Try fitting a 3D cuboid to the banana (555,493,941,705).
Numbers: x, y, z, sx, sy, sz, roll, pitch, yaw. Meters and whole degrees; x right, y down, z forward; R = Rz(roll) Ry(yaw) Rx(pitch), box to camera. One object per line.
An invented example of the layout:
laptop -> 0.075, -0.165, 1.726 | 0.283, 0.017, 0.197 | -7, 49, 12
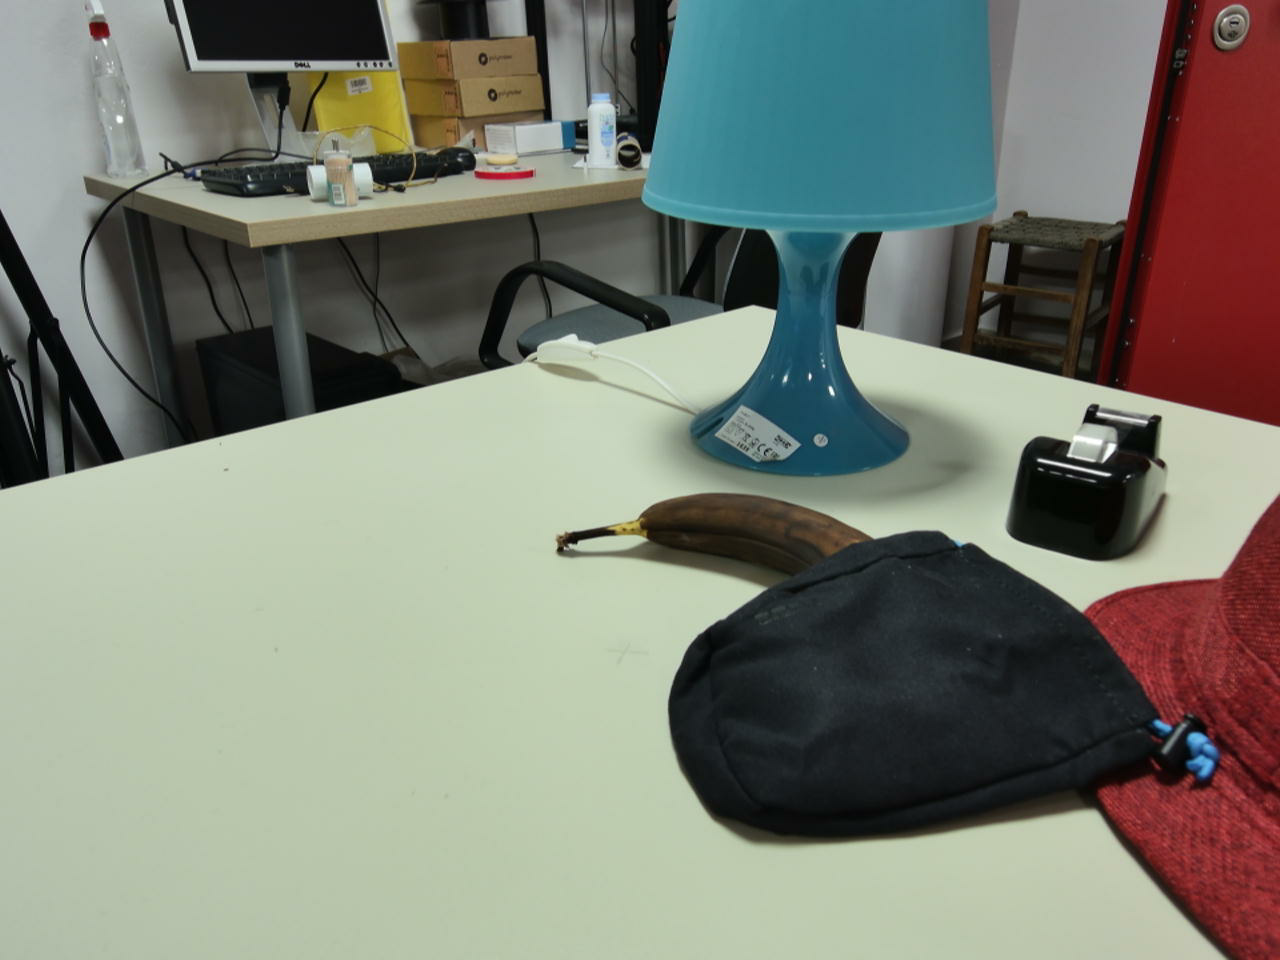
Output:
banana -> 0.056, 0.036, 0.433 | 0.091, 0.034, 0.188 | -16, 27, -34
